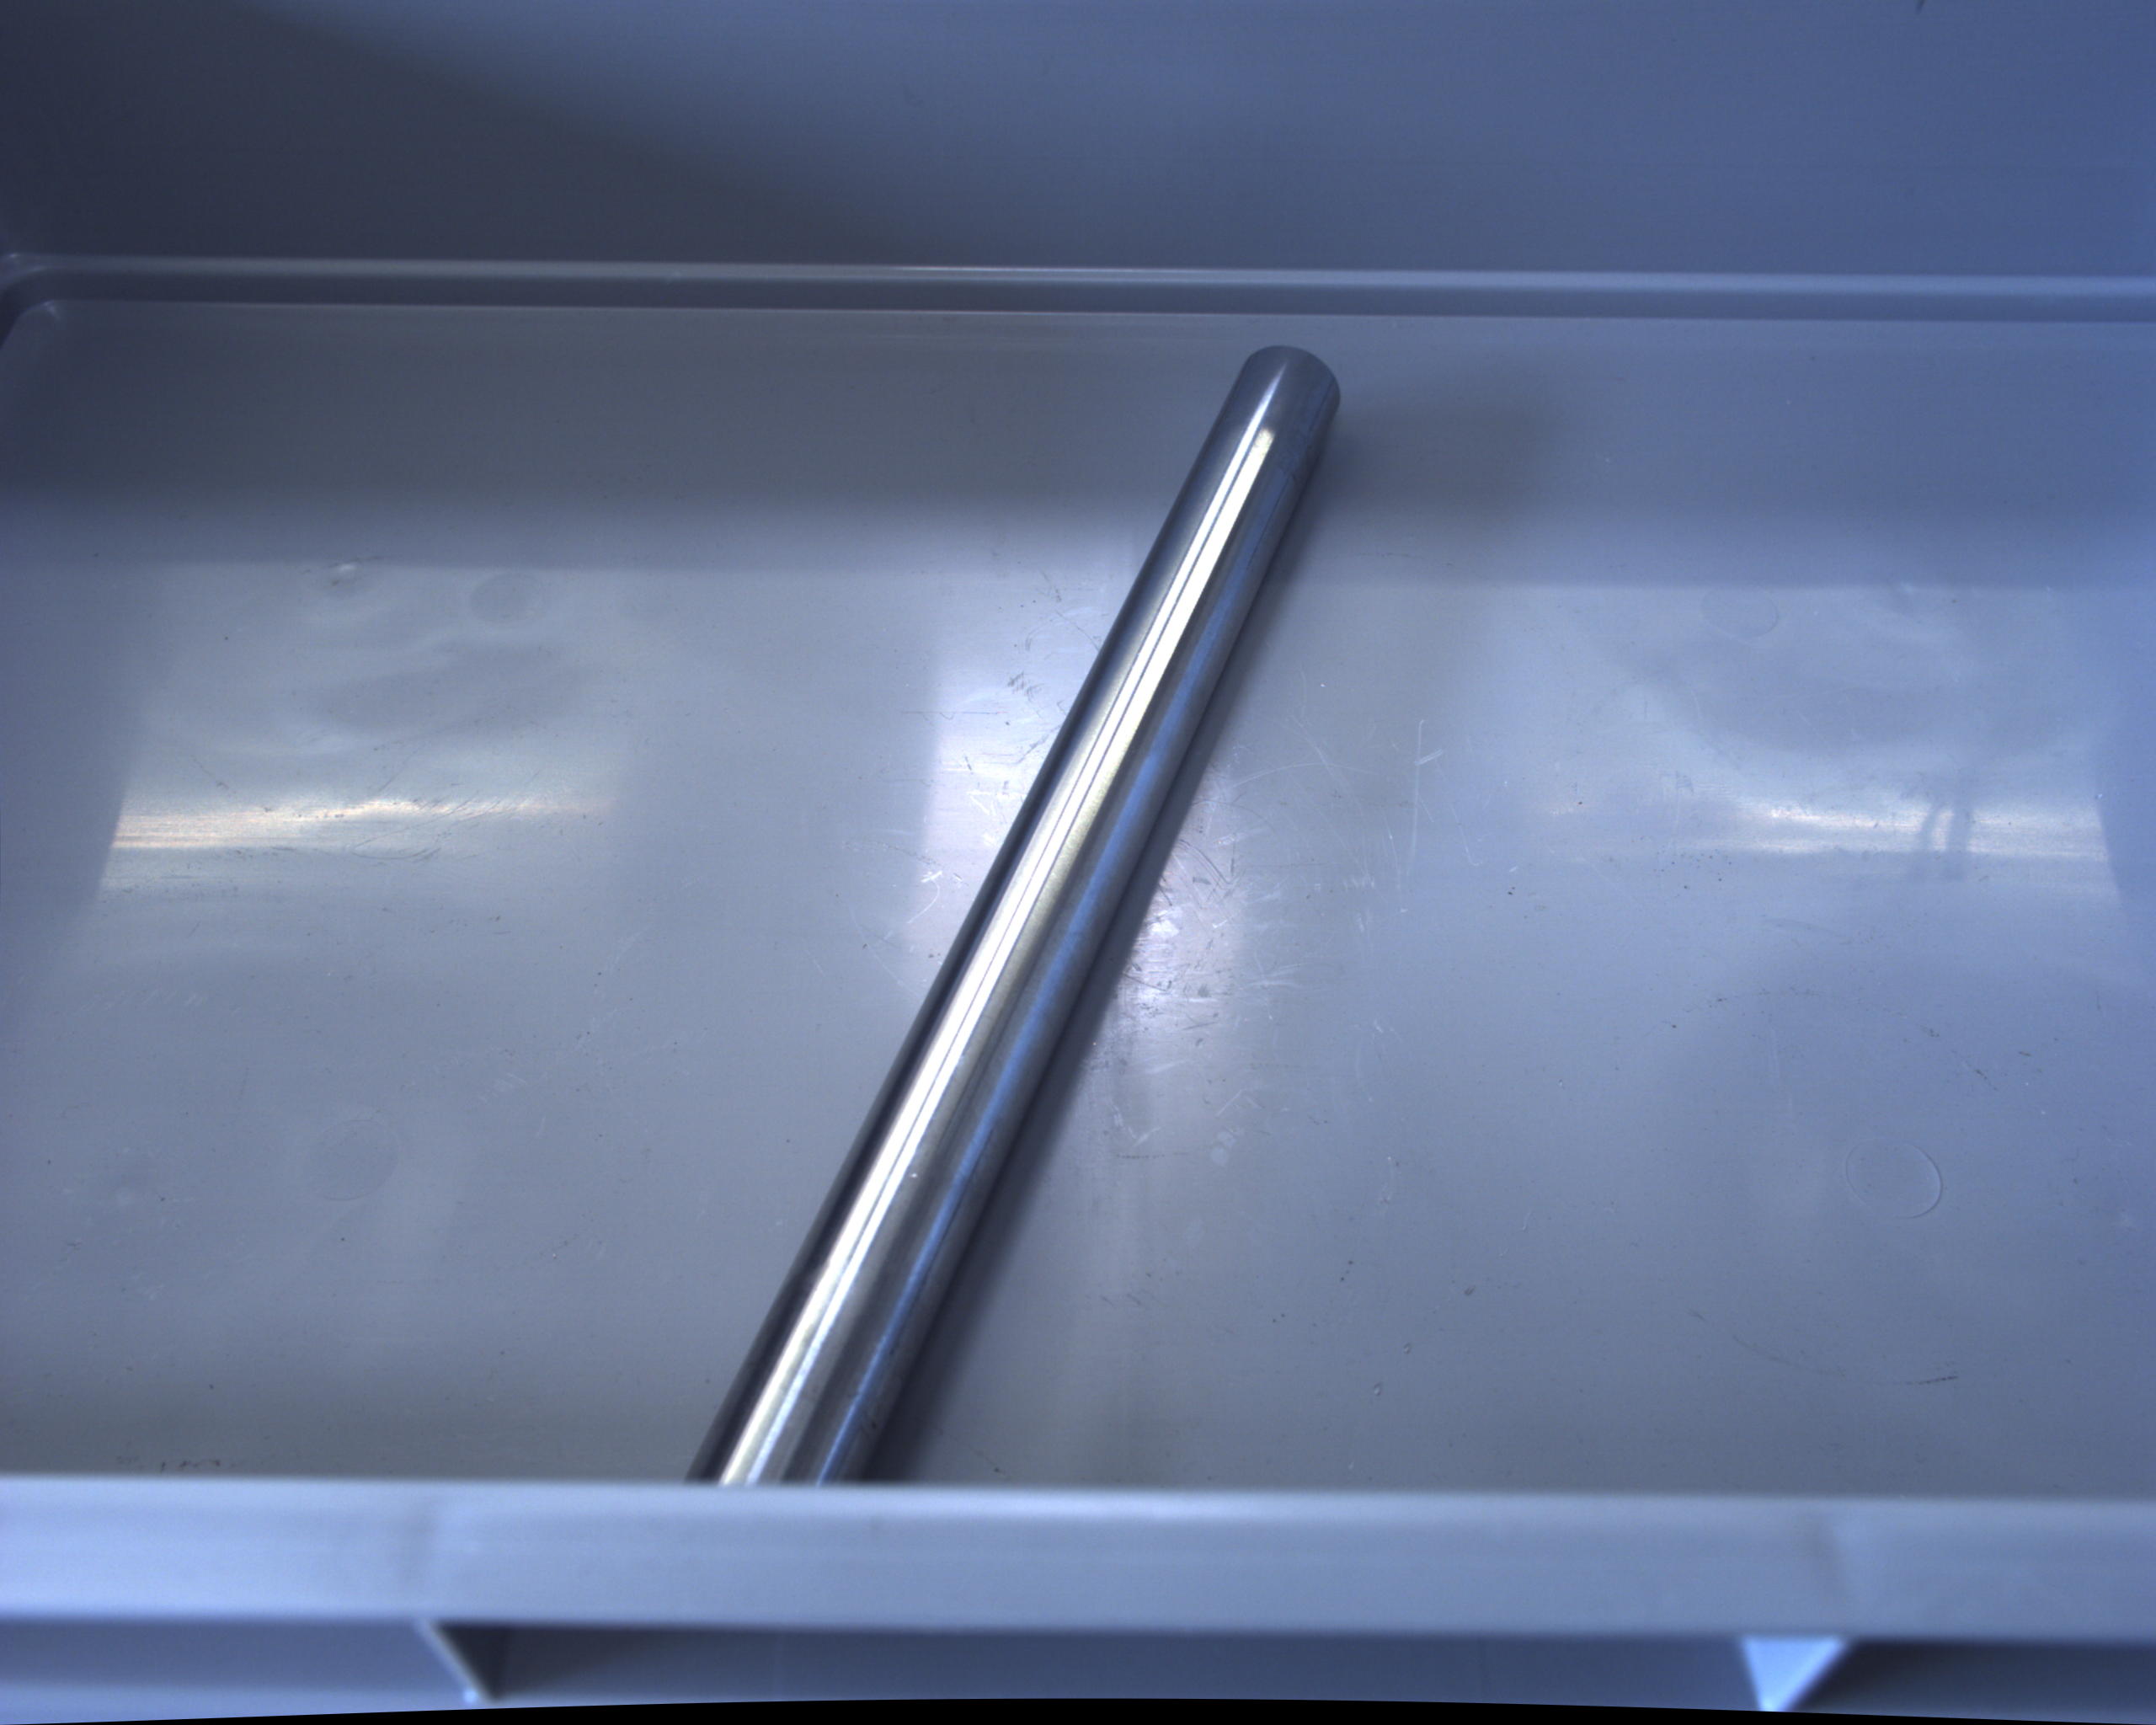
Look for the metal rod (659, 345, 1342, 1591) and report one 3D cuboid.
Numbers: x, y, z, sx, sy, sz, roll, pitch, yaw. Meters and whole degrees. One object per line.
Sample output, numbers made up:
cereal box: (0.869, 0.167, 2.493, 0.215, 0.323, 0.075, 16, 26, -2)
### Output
metal rod: (-0.001, -0.004, 0.406, 0.025, 0.025, 0.301, 16, 52, 13)
